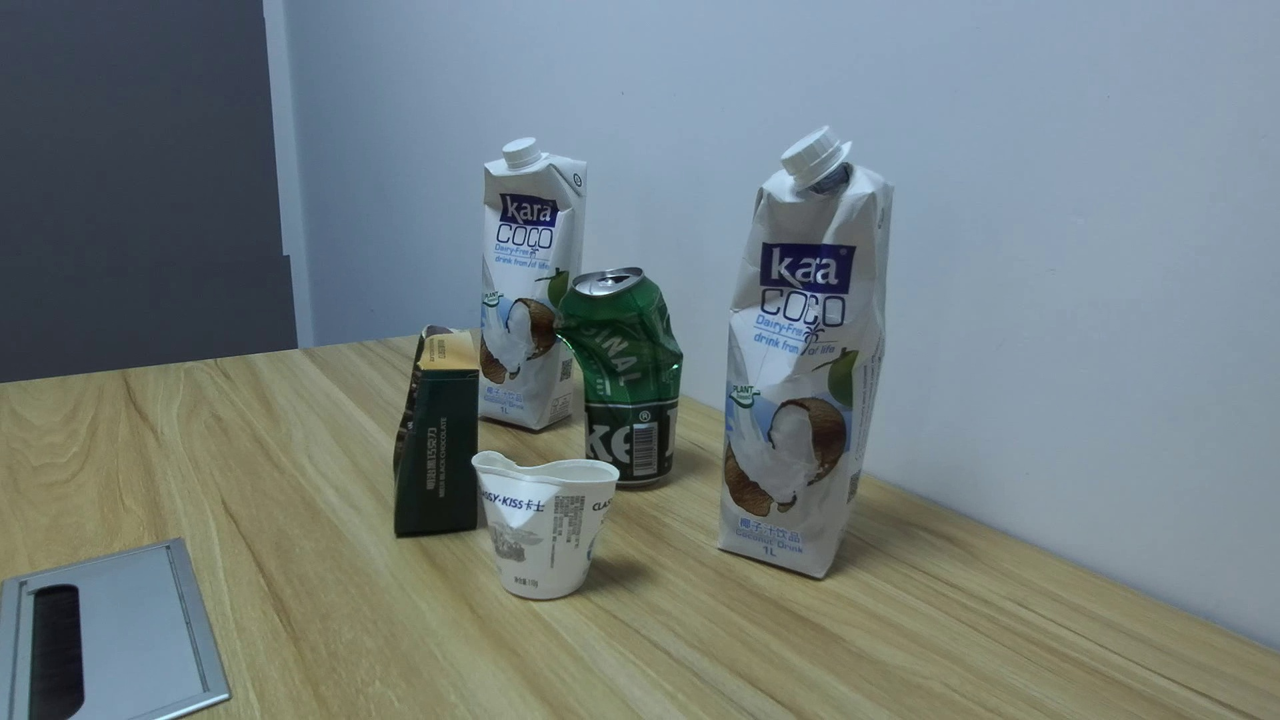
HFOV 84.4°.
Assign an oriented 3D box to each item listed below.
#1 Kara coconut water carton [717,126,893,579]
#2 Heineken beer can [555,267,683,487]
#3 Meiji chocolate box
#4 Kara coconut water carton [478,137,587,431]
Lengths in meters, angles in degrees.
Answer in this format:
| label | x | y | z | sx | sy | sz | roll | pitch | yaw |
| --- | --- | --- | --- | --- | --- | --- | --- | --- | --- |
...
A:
| label | x | y | z | sx | sy | sz | roll | pitch | yaw |
| --- | --- | --- | --- | --- | --- | --- | --- | --- | --- |
| Kara coconut water carton | 0.095 | -0.002 | 0.417 | 0.083 | 0.255 | 0.079 | 16 | 23 | 37 |
| Heineken beer can | -0.010 | 0.013 | 0.526 | 0.079 | 0.159 | 0.067 | -17 | 21 | -32 |
| Meiji chocolate box | -0.139 | 0.042 | 0.484 | 0.058 | 0.110 | 0.113 | 3 | 16 | -17 |
| Kara coconut water carton | -0.094 | -0.065 | 0.619 | 0.099 | 0.244 | 0.071 | 8 | 14 | 24 |
